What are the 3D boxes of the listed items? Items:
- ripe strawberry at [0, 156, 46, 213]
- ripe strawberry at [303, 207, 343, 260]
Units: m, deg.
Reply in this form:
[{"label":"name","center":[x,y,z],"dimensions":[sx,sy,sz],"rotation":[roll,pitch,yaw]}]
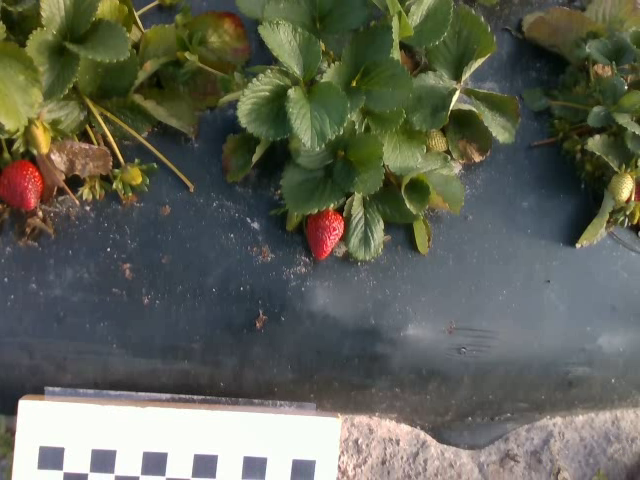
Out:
[{"label":"ripe strawberry","center":[-0.169,-0.027,0.340],"dimensions":[0.031,0.030,0.026],"rotation":[-32,-16,-6]},{"label":"ripe strawberry","center":[0.002,-0.001,0.367],"dimensions":[0.029,0.036,0.021],"rotation":[7,-9,-2]}]
